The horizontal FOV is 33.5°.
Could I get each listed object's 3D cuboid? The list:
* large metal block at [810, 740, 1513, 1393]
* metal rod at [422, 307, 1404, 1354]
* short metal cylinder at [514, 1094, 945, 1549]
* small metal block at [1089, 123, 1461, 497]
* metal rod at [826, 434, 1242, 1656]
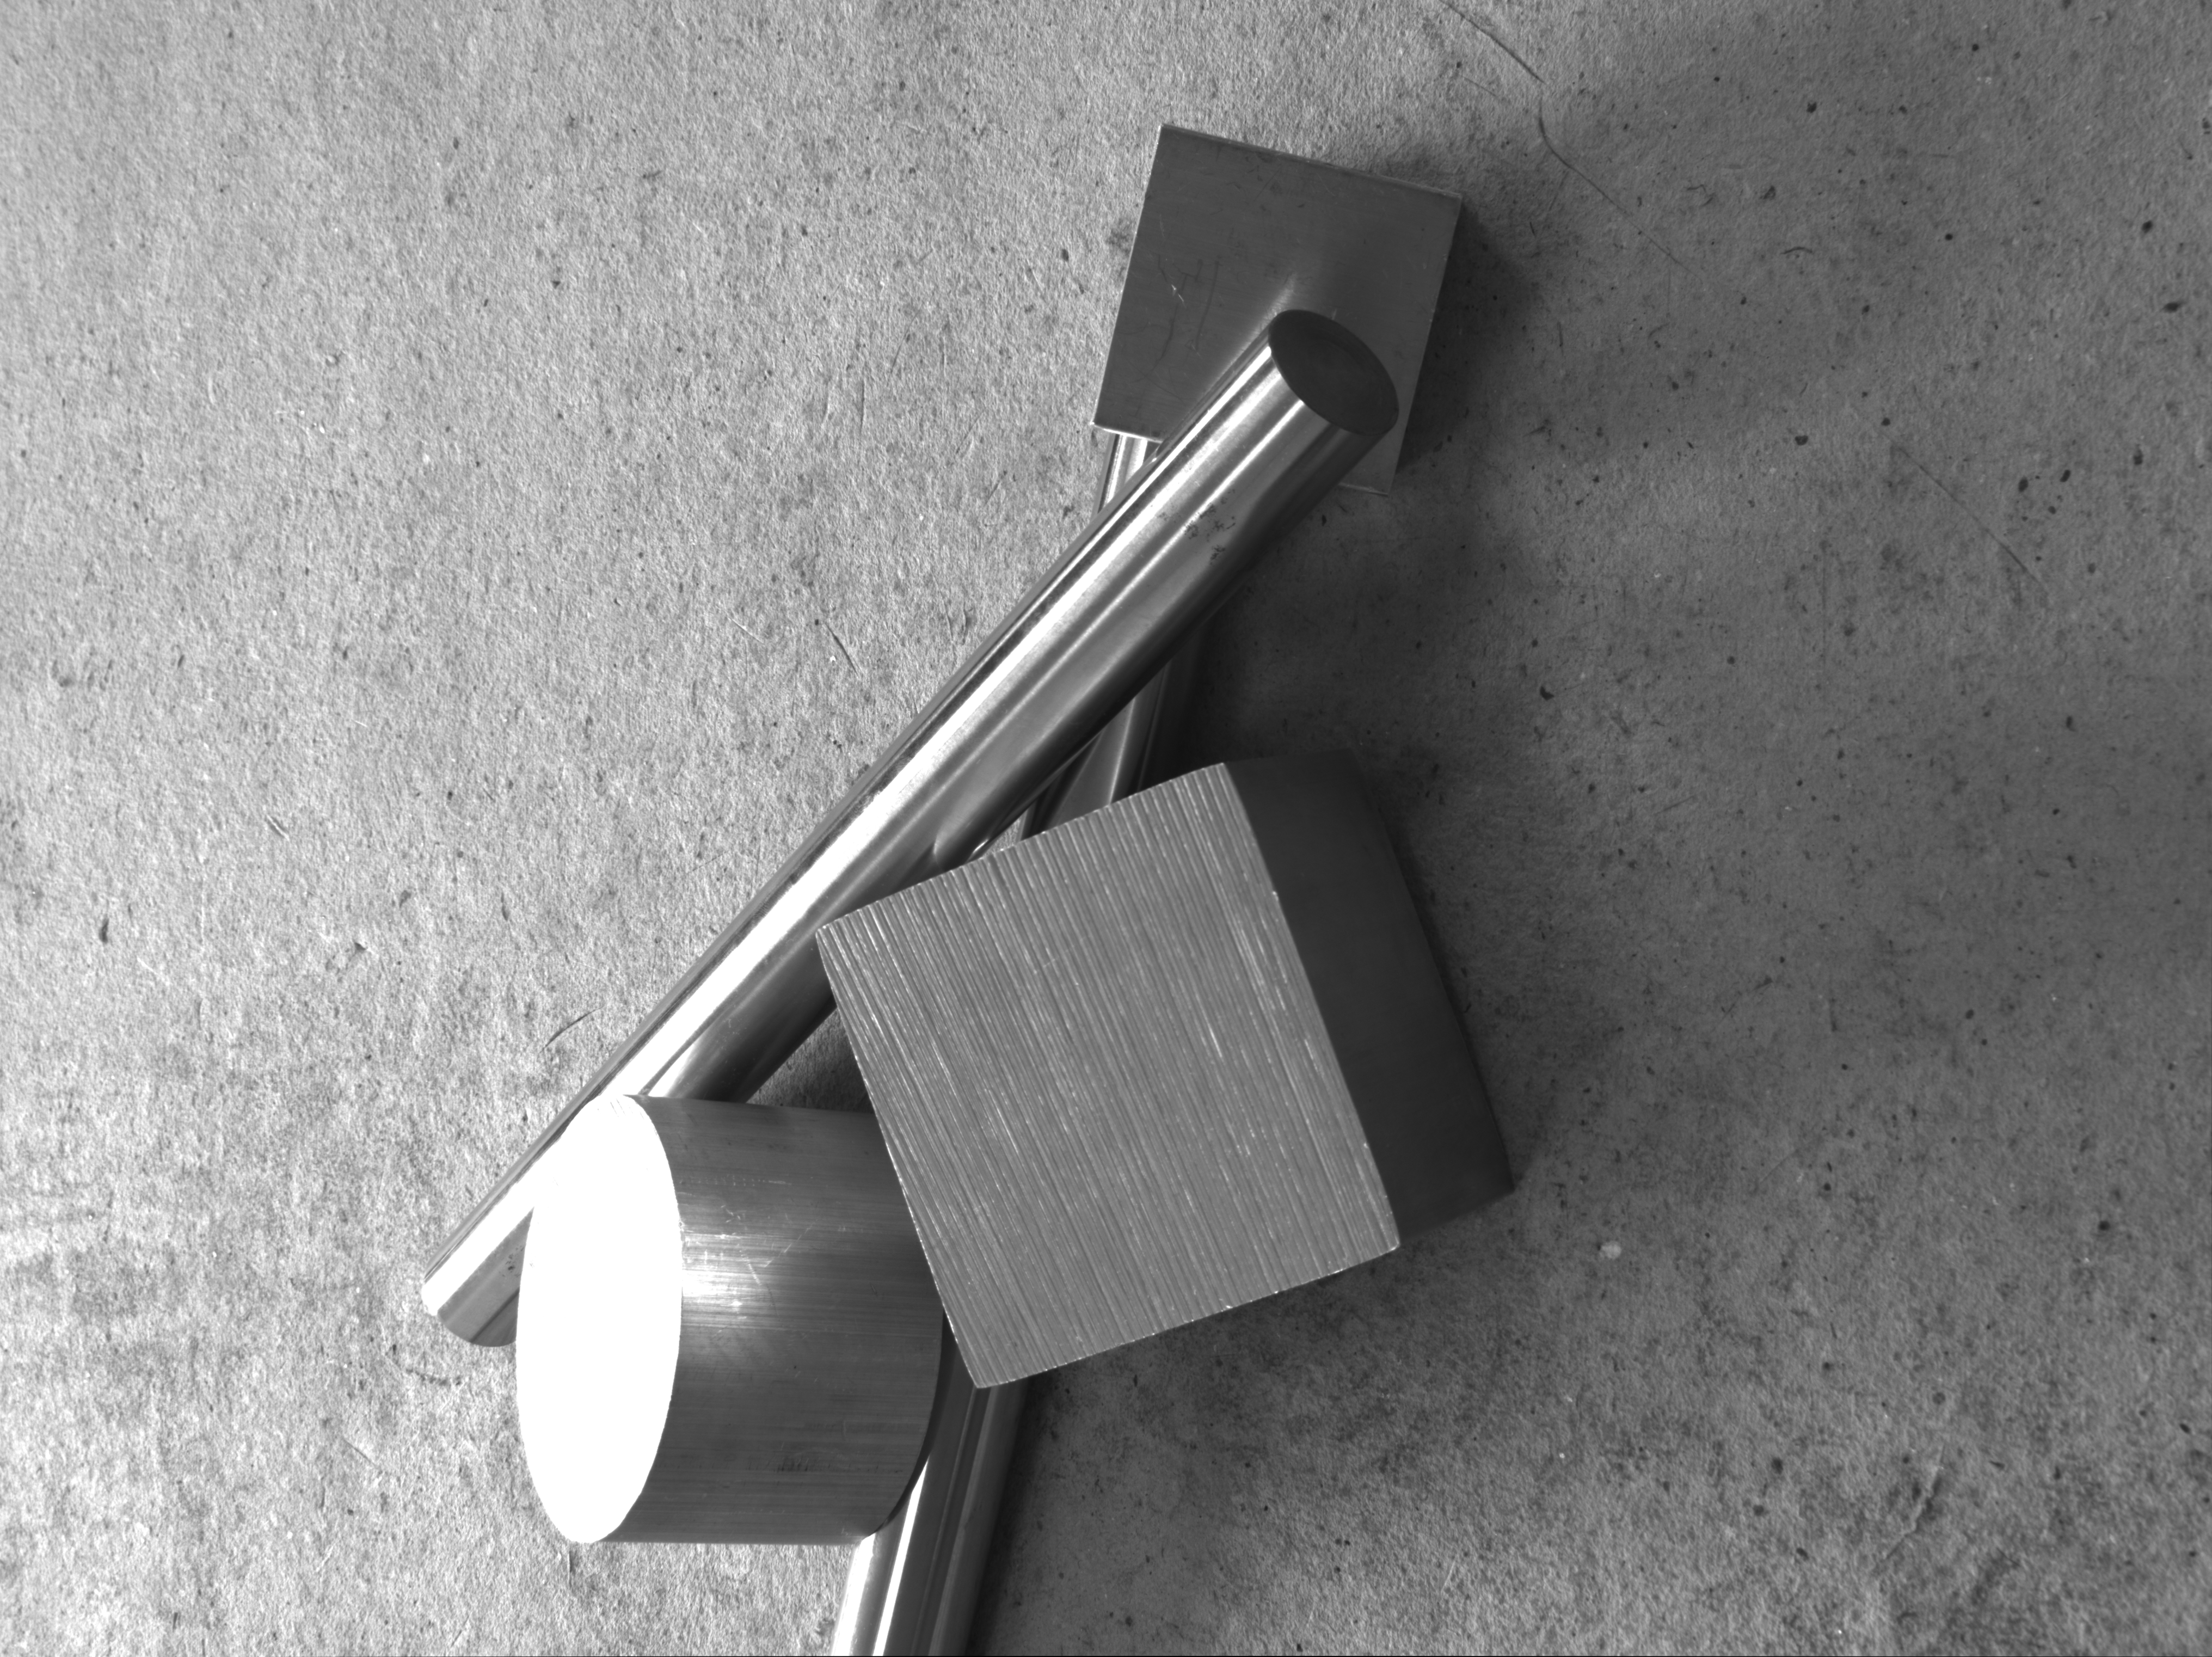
[{"bbox_3d":[0.009,0.038,0.602,0.080,0.050,0.080,-22,85,25],"label":"large metal block"},{"bbox_3d":[-0.046,0.013,0.662,0.299,0.025,0.025,-45,62,38],"label":"metal rod"},{"bbox_3d":[-0.070,0.091,0.672,0.080,0.050,0.080,-22,65,58],"label":"short metal cylinder"},{"bbox_3d":[0.027,-0.086,0.606,0.050,0.025,0.050,13,100,-1],"label":"small metal block"},{"bbox_3d":[-0.012,0.037,0.655,0.025,0.025,0.300,22,104,38],"label":"metal rod"}]
